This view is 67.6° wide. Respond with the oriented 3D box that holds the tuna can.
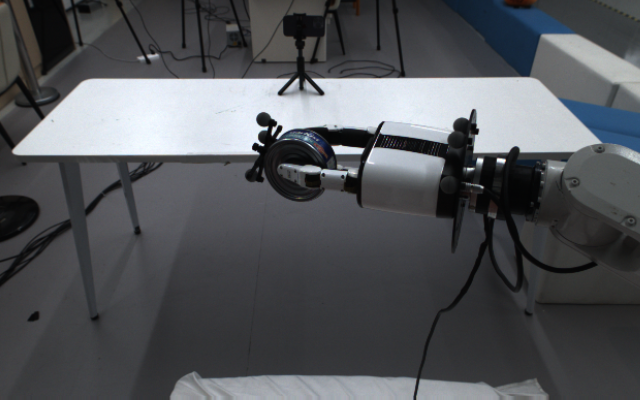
[{"bbox_3d":[-0.022,-0.038,0.588,0.085,0.085,0.034,13,30,15],"label":"tuna can"}]
